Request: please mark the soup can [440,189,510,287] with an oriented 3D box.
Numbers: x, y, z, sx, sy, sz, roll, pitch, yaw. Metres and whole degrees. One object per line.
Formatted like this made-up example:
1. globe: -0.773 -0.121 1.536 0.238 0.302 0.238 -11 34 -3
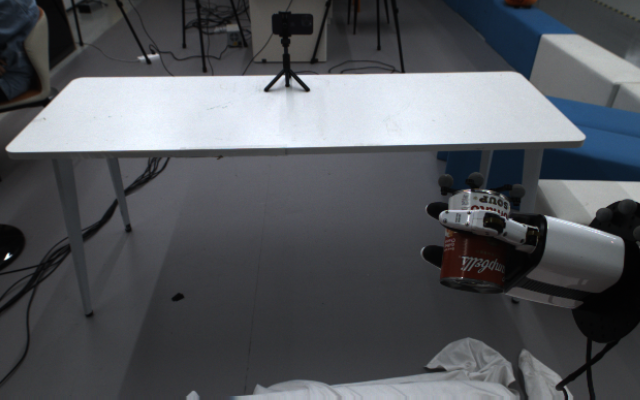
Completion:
1. soup can: 0.174 0.046 0.534 0.067 0.067 0.101 8 72 9
